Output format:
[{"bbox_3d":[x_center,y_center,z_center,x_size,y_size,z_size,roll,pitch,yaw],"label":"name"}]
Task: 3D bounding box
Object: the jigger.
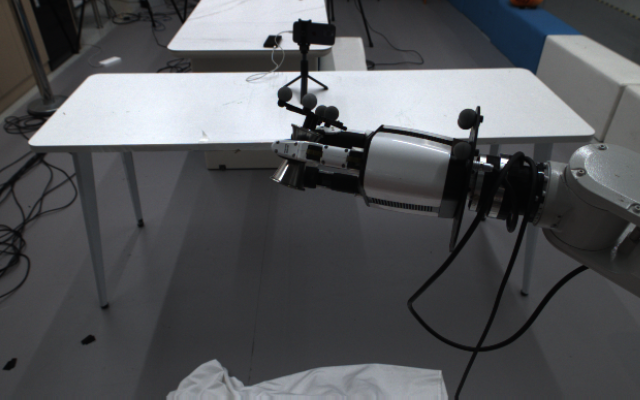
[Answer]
[{"bbox_3d":[-0.027,-0.050,0.561,0.043,0.071,0.043,22,6,-2],"label":"jigger"}]
